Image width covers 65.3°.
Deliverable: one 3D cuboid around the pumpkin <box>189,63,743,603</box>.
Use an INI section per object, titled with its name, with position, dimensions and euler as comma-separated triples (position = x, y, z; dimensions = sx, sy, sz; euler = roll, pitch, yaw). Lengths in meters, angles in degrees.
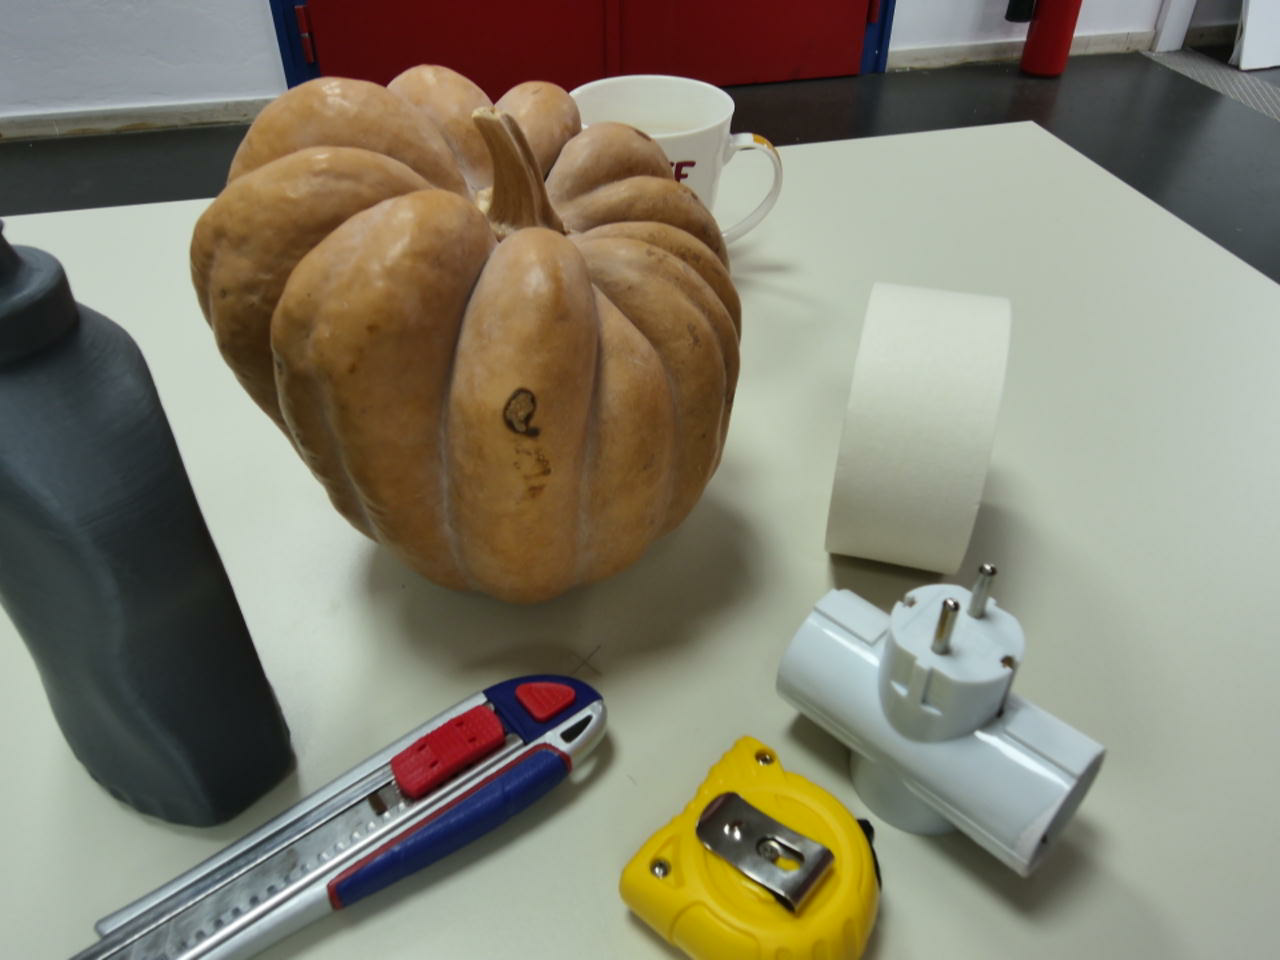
[pumpkin]
position = -0.055, -0.052, 0.370
dimensions = 0.199, 0.177, 0.198
euler = 0, 38, 0
